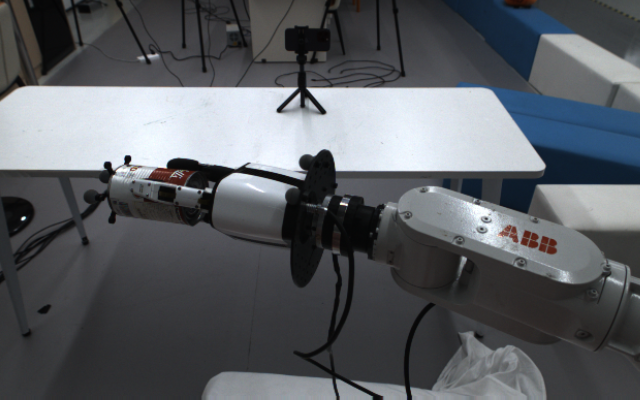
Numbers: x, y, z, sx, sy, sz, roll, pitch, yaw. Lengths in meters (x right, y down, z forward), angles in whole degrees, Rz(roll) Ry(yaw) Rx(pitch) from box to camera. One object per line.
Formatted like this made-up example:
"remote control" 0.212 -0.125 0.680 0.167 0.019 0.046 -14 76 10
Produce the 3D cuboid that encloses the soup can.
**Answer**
"soup can" -0.196 -0.006 0.597 0.101 0.067 0.067 6 35 12
